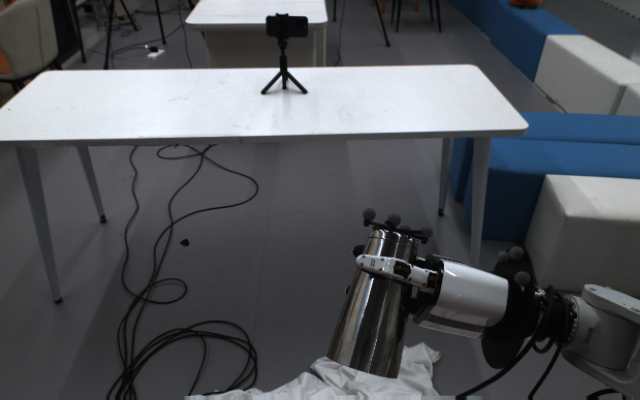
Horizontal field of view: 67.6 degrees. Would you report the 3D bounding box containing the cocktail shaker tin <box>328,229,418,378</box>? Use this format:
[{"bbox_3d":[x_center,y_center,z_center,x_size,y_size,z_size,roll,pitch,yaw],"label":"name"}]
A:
[{"bbox_3d":[0.079,0.126,0.622,0.093,0.093,0.170,13,79,15],"label":"cocktail shaker tin"}]
